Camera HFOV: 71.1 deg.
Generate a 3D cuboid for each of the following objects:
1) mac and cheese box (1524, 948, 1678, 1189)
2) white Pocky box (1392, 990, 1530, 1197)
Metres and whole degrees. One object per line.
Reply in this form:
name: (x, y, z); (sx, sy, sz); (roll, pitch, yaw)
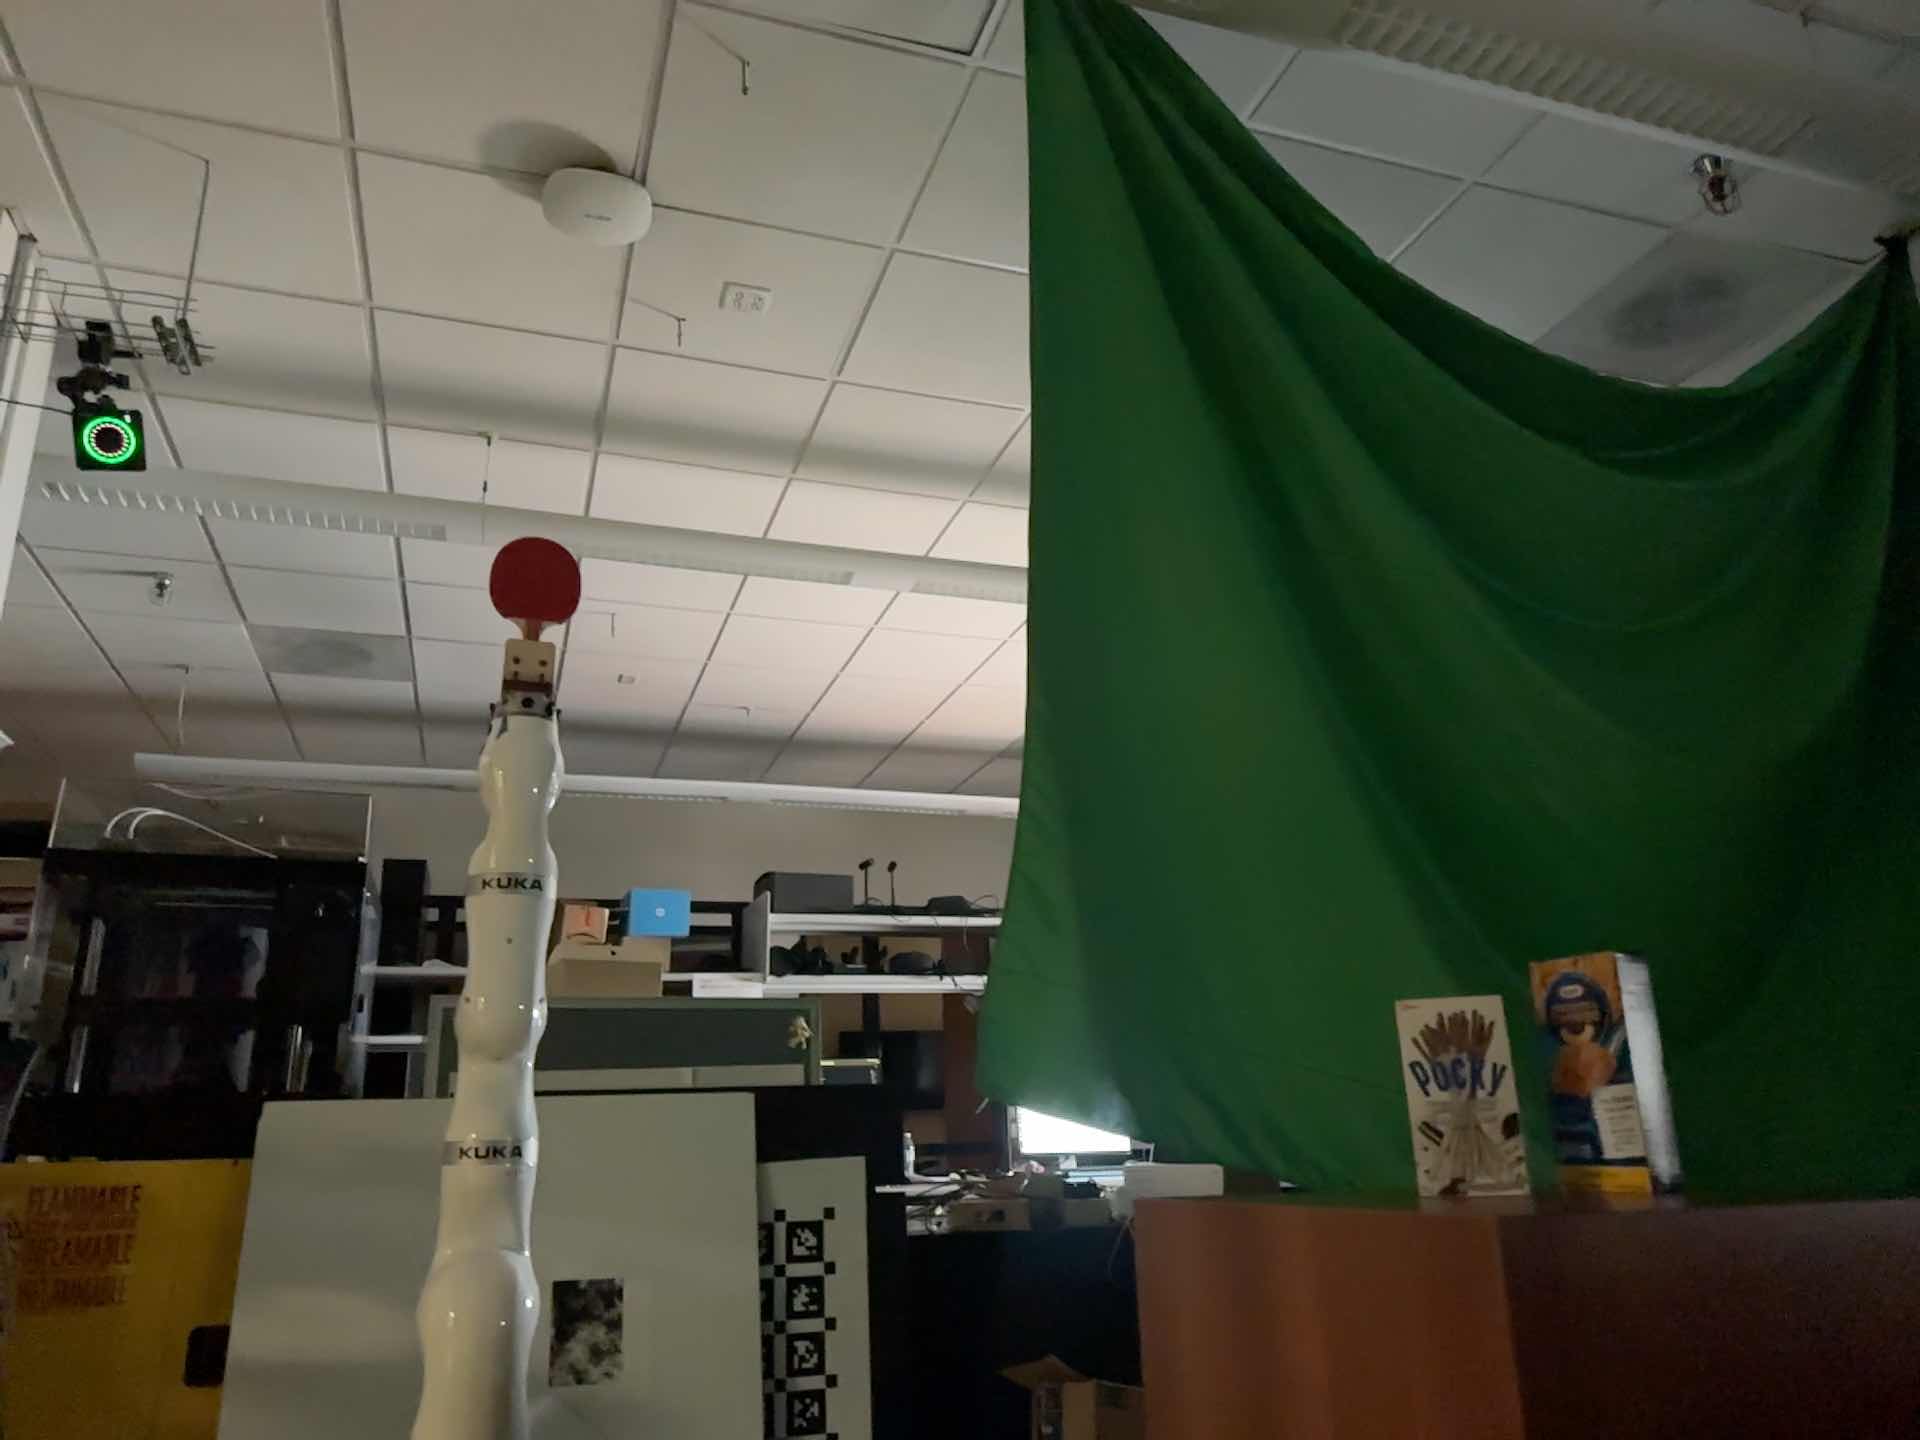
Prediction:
mac and cheese box: (0.516, 0.282, 1.090); (0.035, 0.181, 0.088); (6, -18, -25)
white Pocky box: (0.394, 0.294, 1.059); (0.084, 0.154, 0.028); (-8, -16, 20)
